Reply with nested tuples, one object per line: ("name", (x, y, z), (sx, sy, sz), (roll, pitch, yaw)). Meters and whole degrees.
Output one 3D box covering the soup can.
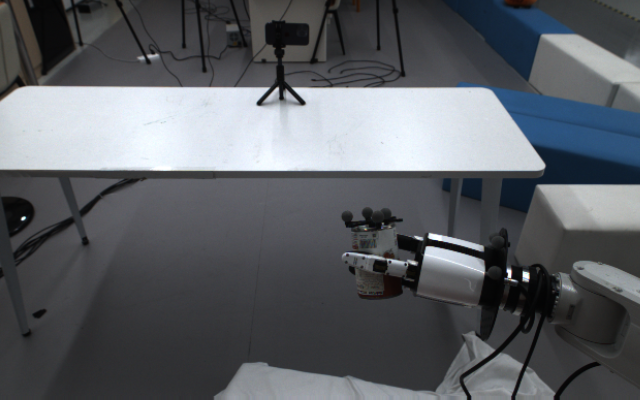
("soup can", (0.085, 0.087, 0.706), (0.067, 0.101, 0.067), (-7, 3, 0))
